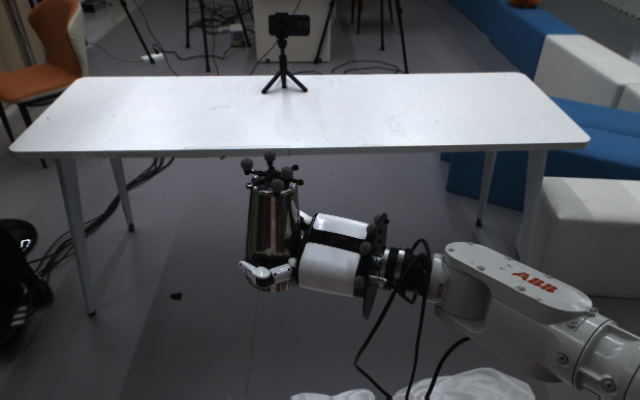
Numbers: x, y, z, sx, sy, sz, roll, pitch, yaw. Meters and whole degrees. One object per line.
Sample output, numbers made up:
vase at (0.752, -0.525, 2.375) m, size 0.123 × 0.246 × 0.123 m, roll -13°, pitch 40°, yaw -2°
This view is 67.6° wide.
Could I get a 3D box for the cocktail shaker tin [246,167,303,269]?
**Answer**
cocktail shaker tin at (-0.068, 0.043, 0.721) m, size 0.093 × 0.170 × 0.093 m, roll 2°, pitch 34°, yaw -2°
